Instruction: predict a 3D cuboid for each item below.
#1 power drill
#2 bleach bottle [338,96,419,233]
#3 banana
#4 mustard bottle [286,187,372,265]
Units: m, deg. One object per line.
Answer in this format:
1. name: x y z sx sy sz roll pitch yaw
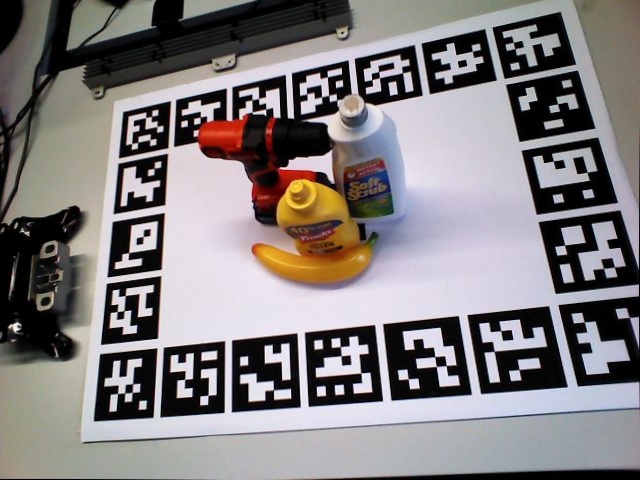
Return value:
1. power drill: -0.039 -0.088 0.694 0.185 0.187 0.057 4 71 16
2. bleach bottle: 0.068 -0.092 0.661 0.103 0.251 0.067 -5 64 14
3. banana: 0.012 0.038 0.751 0.198 0.039 0.074 -4 71 17
4. mustard bottle: 0.009 -0.021 0.679 0.096 0.191 0.058 -7 69 12
